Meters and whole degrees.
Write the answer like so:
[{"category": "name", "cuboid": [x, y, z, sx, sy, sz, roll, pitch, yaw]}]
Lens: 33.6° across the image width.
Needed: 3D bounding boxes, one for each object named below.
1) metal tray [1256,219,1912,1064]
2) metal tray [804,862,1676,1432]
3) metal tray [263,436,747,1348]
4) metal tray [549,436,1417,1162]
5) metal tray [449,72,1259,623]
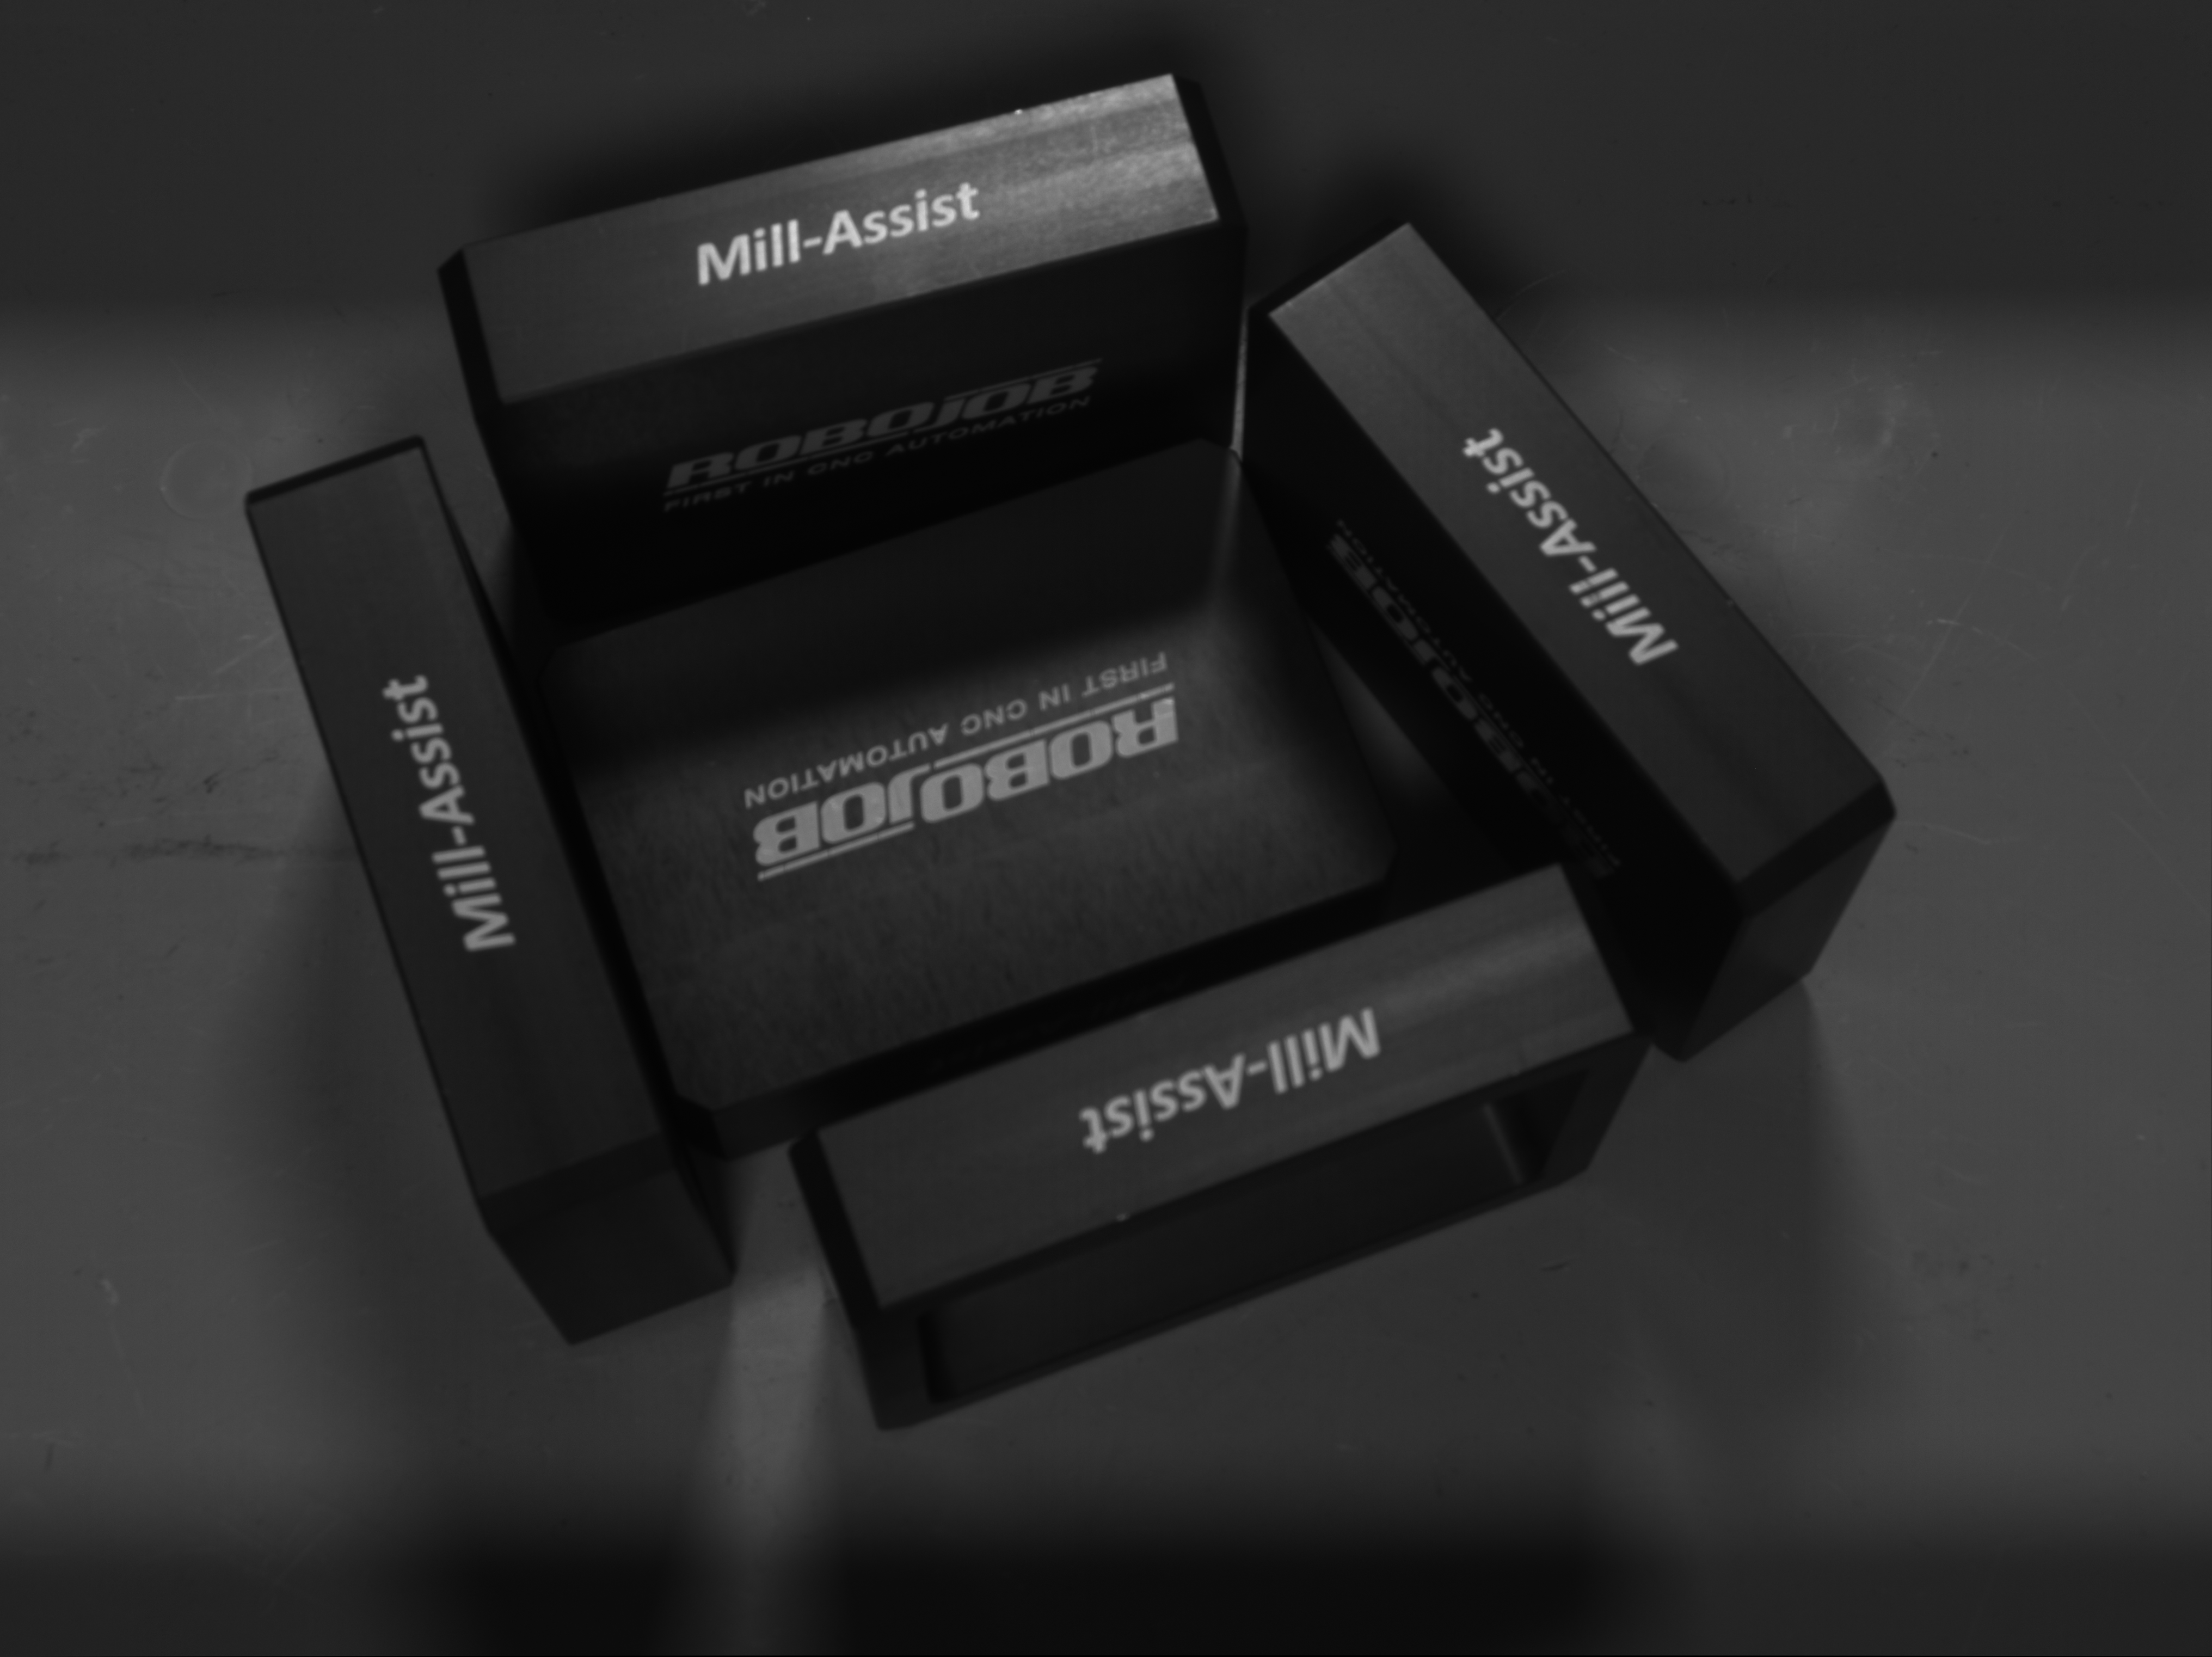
[{"category": "metal tray", "cuboid": [0.076, -0.030, 0.620, 0.030, 0.090, 0.130, -34, 73, -11]}, {"category": "metal tray", "cuboid": [0.021, 0.053, 0.589, 0.130, 0.090, 0.030, -19, 71, -7]}, {"category": "metal tray", "cuboid": [-0.098, 0.012, 0.604, 0.030, 0.090, 0.130, -20, 71, -7]}, {"category": "metal tray", "cuboid": [-0.022, -0.006, 0.642, 0.130, 0.030, 0.090, -19, 71, -7]}, {"category": "metal tray", "cuboid": [-0.041, -0.082, 0.638, 0.130, 0.090, 0.030, -15, 70, -5]}]
